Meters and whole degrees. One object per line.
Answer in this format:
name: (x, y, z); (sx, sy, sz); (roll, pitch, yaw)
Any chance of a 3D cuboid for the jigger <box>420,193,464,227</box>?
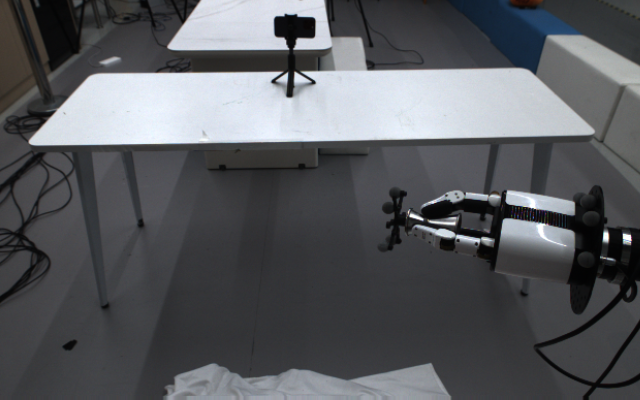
jigger: (0.159, 0.031, 0.654); (0.071, 0.043, 0.043); (8, 34, 23)
